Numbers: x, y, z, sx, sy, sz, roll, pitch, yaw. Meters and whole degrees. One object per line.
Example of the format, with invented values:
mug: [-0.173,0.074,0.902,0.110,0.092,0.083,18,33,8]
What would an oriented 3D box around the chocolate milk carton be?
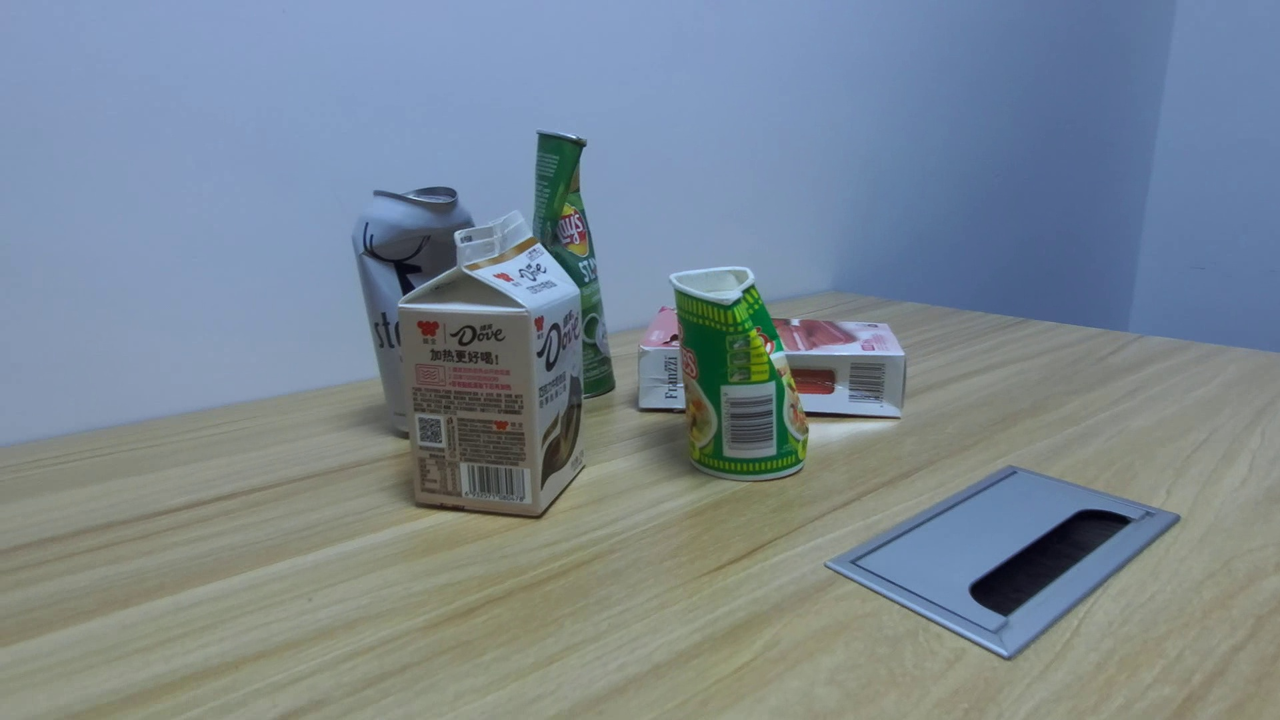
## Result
chocolate milk carton: [-0.076,-0.002,0.379,0.074,0.148,0.075,3,15,14]

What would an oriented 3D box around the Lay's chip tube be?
Lay's chip tube: [-0.056,-0.073,0.550,0.069,0.201,0.077,-11,19,-31]

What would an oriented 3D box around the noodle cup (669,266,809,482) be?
noodle cup: [0.060,0.005,0.408,0.083,0.122,0.075,-28,20,-38]

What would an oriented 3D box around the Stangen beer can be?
Stangen beer can: [-0.139,-0.030,0.468,0.066,0.162,0.077,-4,12,1]
